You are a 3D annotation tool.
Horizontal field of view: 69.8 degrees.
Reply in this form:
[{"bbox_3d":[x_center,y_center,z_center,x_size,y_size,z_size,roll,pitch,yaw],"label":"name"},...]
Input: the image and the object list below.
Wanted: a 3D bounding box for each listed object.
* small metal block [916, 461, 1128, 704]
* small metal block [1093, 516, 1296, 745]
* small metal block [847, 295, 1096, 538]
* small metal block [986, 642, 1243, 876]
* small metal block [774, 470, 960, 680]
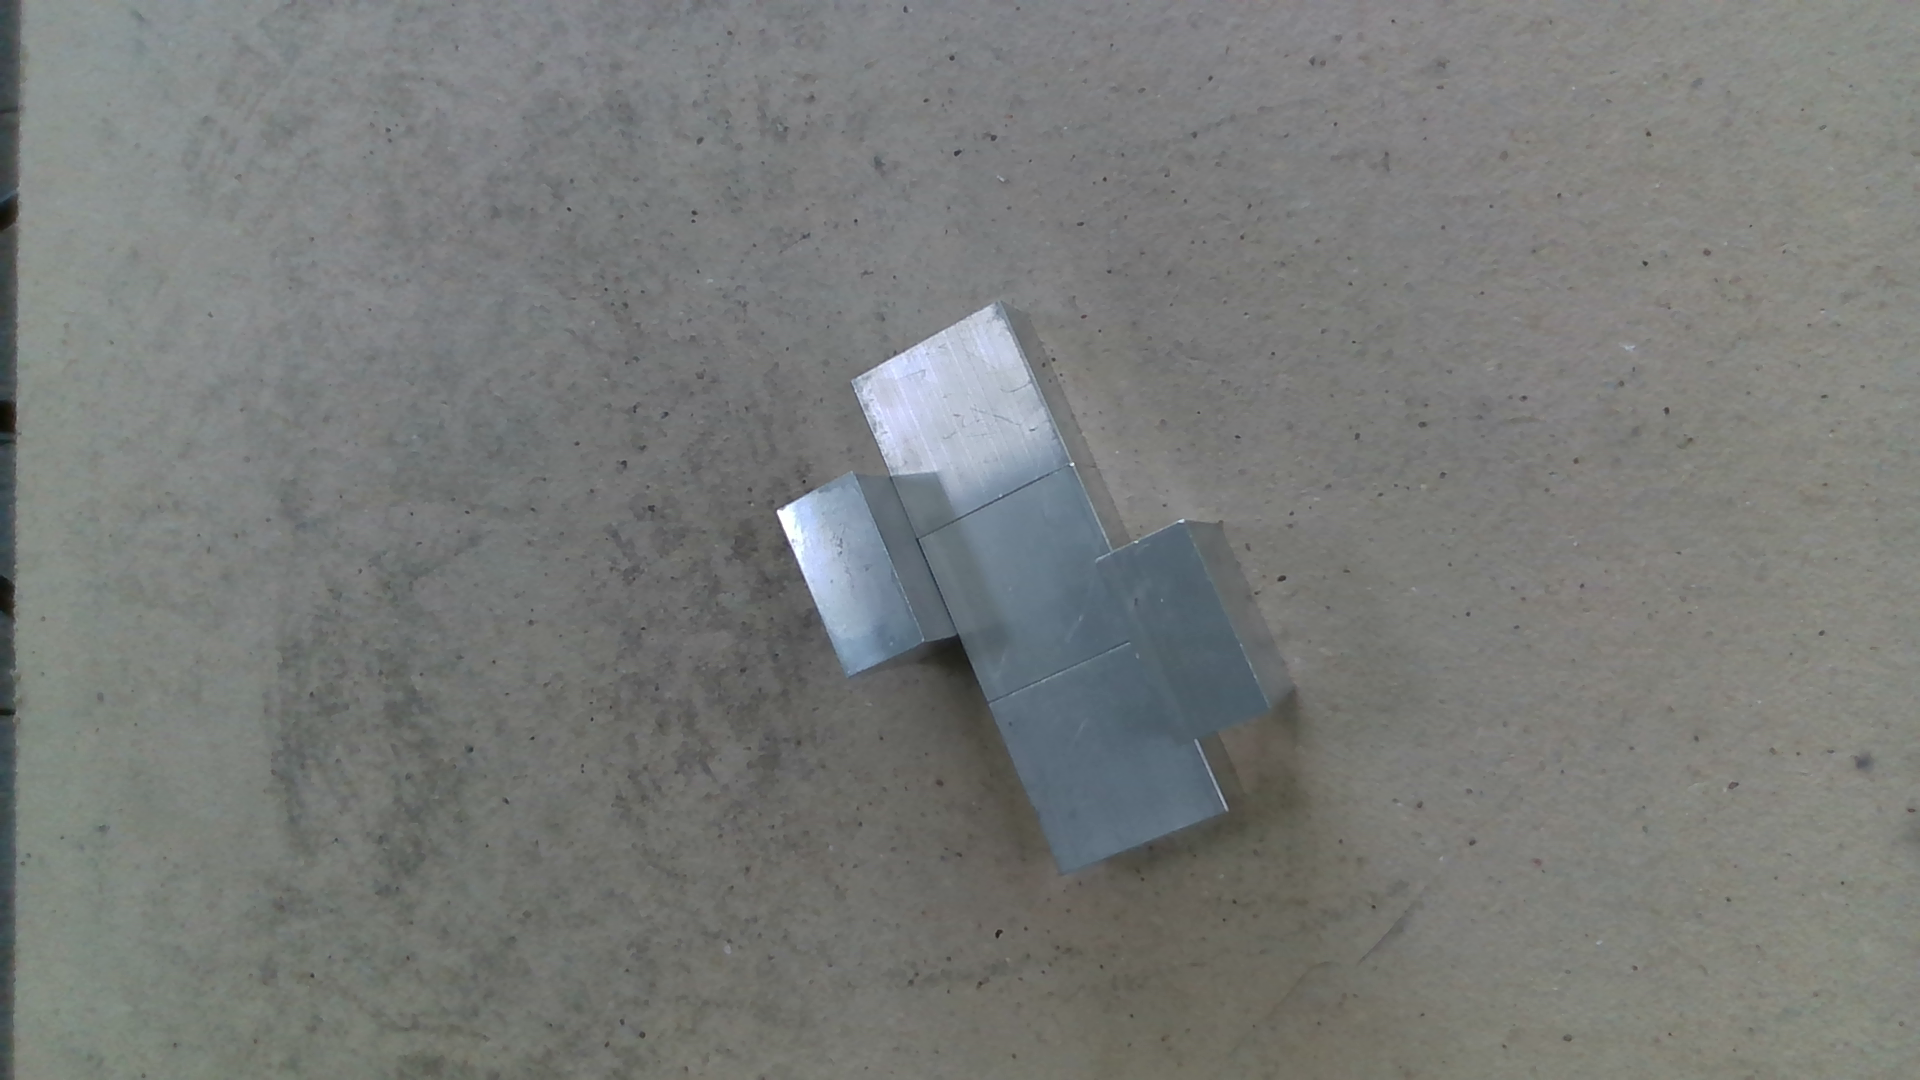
[{"bbox_3d":[0.023,0.012,0.385,0.050,0.025,0.050,-26,82,19],"label":"small metal block"},{"bbox_3d":[0.062,0.022,0.358,0.025,0.050,0.050,-26,81,18],"label":"small metal block"},{"bbox_3d":[0.003,-0.034,0.392,0.050,0.025,0.050,-26,82,19],"label":"small metal block"},{"bbox_3d":[0.043,0.057,0.378,0.050,0.025,0.050,-26,82,19],"label":"small metal block"},{"bbox_3d":[-0.021,0.010,0.389,0.025,0.050,0.050,-26,81,18],"label":"small metal block"}]
